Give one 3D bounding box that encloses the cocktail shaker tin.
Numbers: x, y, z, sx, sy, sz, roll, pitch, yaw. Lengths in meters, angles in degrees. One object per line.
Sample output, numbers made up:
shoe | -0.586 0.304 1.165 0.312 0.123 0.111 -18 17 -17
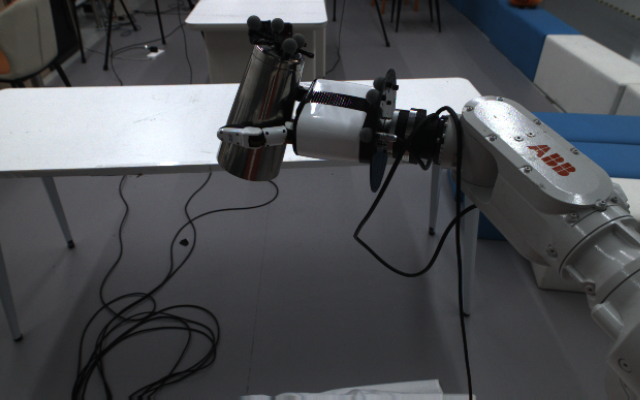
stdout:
cocktail shaker tin | -0.075 -0.123 0.648 0.093 0.170 0.093 15 31 -10
